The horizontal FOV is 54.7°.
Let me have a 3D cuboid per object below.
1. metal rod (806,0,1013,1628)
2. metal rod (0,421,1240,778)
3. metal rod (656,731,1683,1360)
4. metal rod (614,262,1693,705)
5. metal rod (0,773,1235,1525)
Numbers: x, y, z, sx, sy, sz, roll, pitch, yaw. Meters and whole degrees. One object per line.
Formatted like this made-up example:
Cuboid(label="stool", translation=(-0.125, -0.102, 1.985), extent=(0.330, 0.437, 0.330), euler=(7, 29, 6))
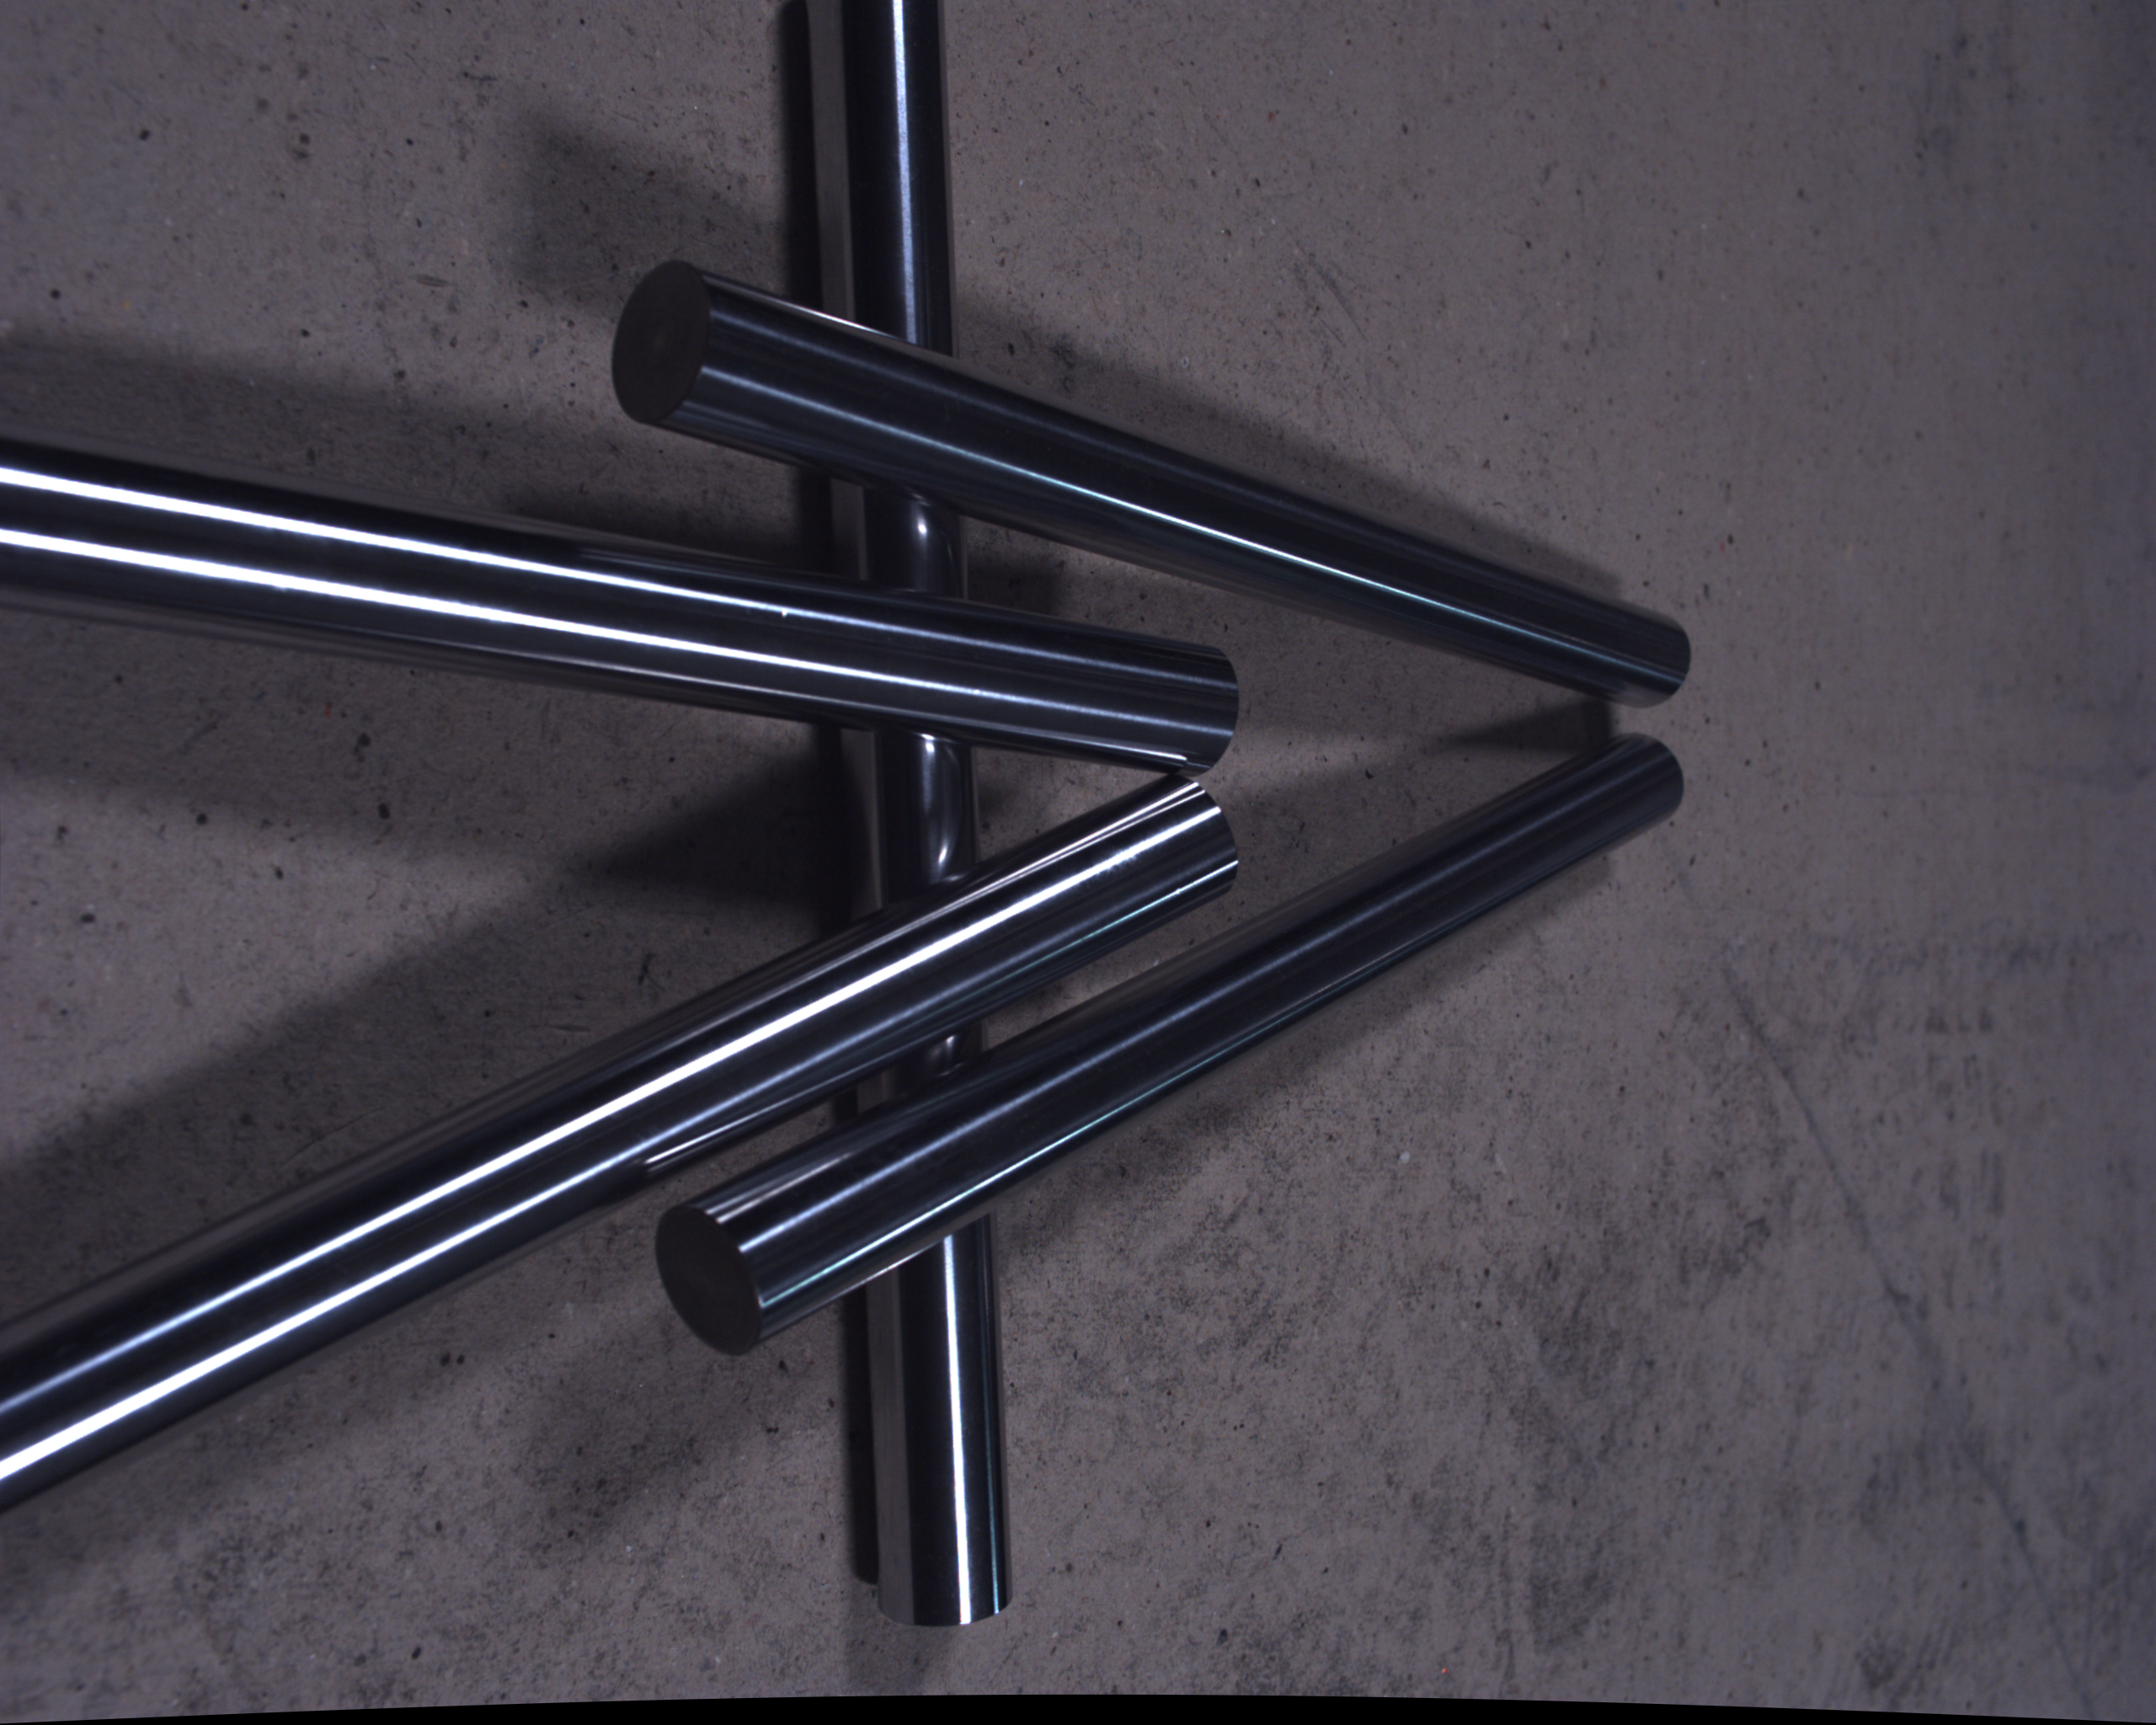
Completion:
Cuboid(label="metal rod", translation=(-0.031, -0.012, 0.382), extent=(0.025, 0.025, 0.298), euler=(-4, 93, -40))
Cuboid(label="metal rod", translation=(-0.102, -0.041, 0.304), extent=(0.302, 0.025, 0.025), euler=(6, 86, -34))
Cuboid(label="metal rod", translation=(0.043, 0.022, 0.424), extent=(0.302, 0.025, 0.025), euler=(-23, 105, -44))
Cuboid(label="metal rod", translation=(0.041, -0.064, 0.422), extent=(0.302, 0.025, 0.025), euler=(7, 86, -46))
Cuboid(label="metal rod", translation=(-0.095, 0.051, 0.309), extent=(0.302, 0.025, 0.025), euler=(-26, 107, -32))
